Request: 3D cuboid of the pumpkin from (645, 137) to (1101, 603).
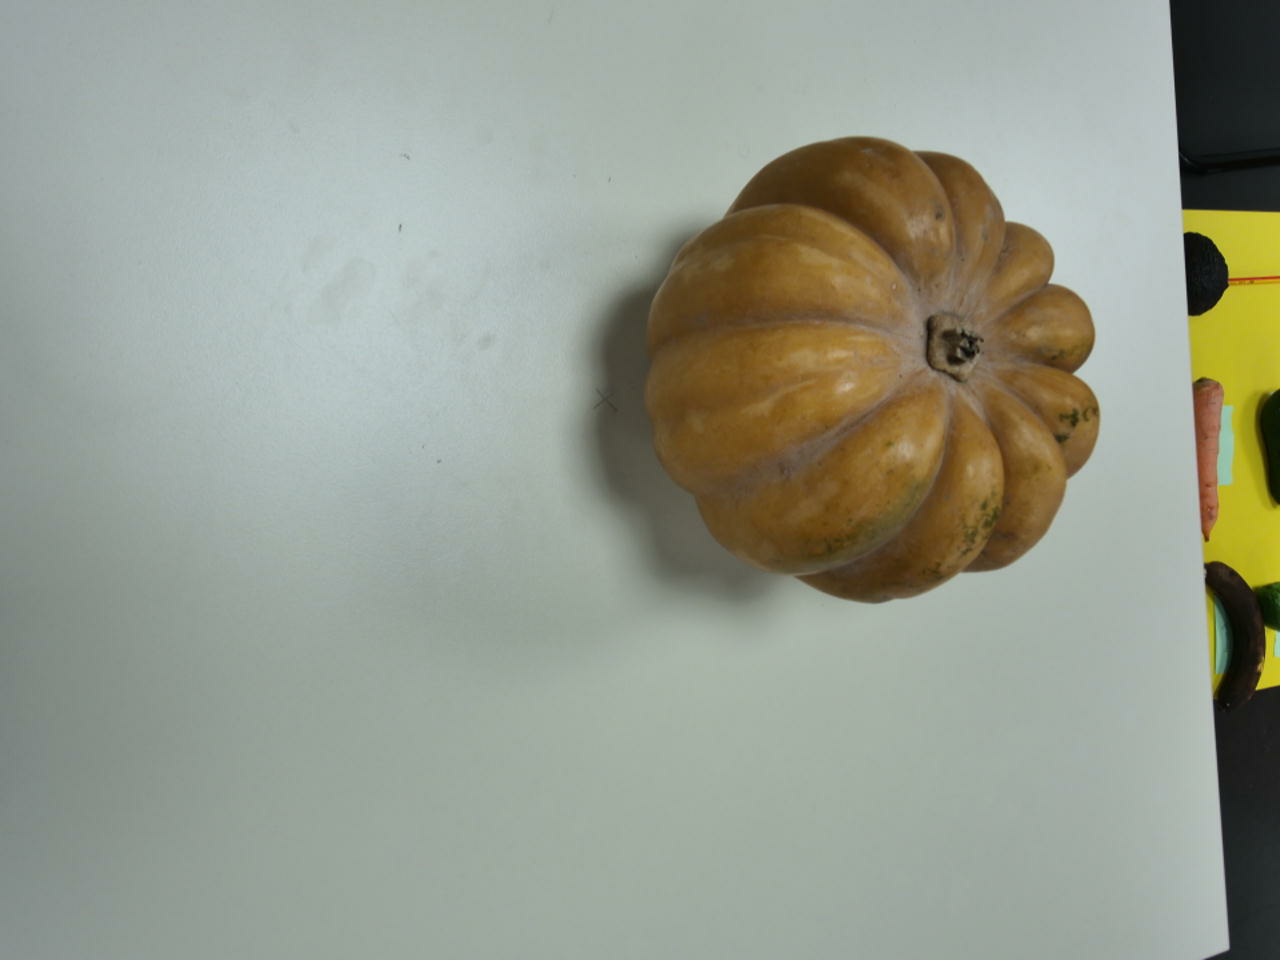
[{"bbox_3d":[0.111,-0.051,0.508,0.230,0.194,0.230,0,91,-22],"label":"pumpkin"}]
